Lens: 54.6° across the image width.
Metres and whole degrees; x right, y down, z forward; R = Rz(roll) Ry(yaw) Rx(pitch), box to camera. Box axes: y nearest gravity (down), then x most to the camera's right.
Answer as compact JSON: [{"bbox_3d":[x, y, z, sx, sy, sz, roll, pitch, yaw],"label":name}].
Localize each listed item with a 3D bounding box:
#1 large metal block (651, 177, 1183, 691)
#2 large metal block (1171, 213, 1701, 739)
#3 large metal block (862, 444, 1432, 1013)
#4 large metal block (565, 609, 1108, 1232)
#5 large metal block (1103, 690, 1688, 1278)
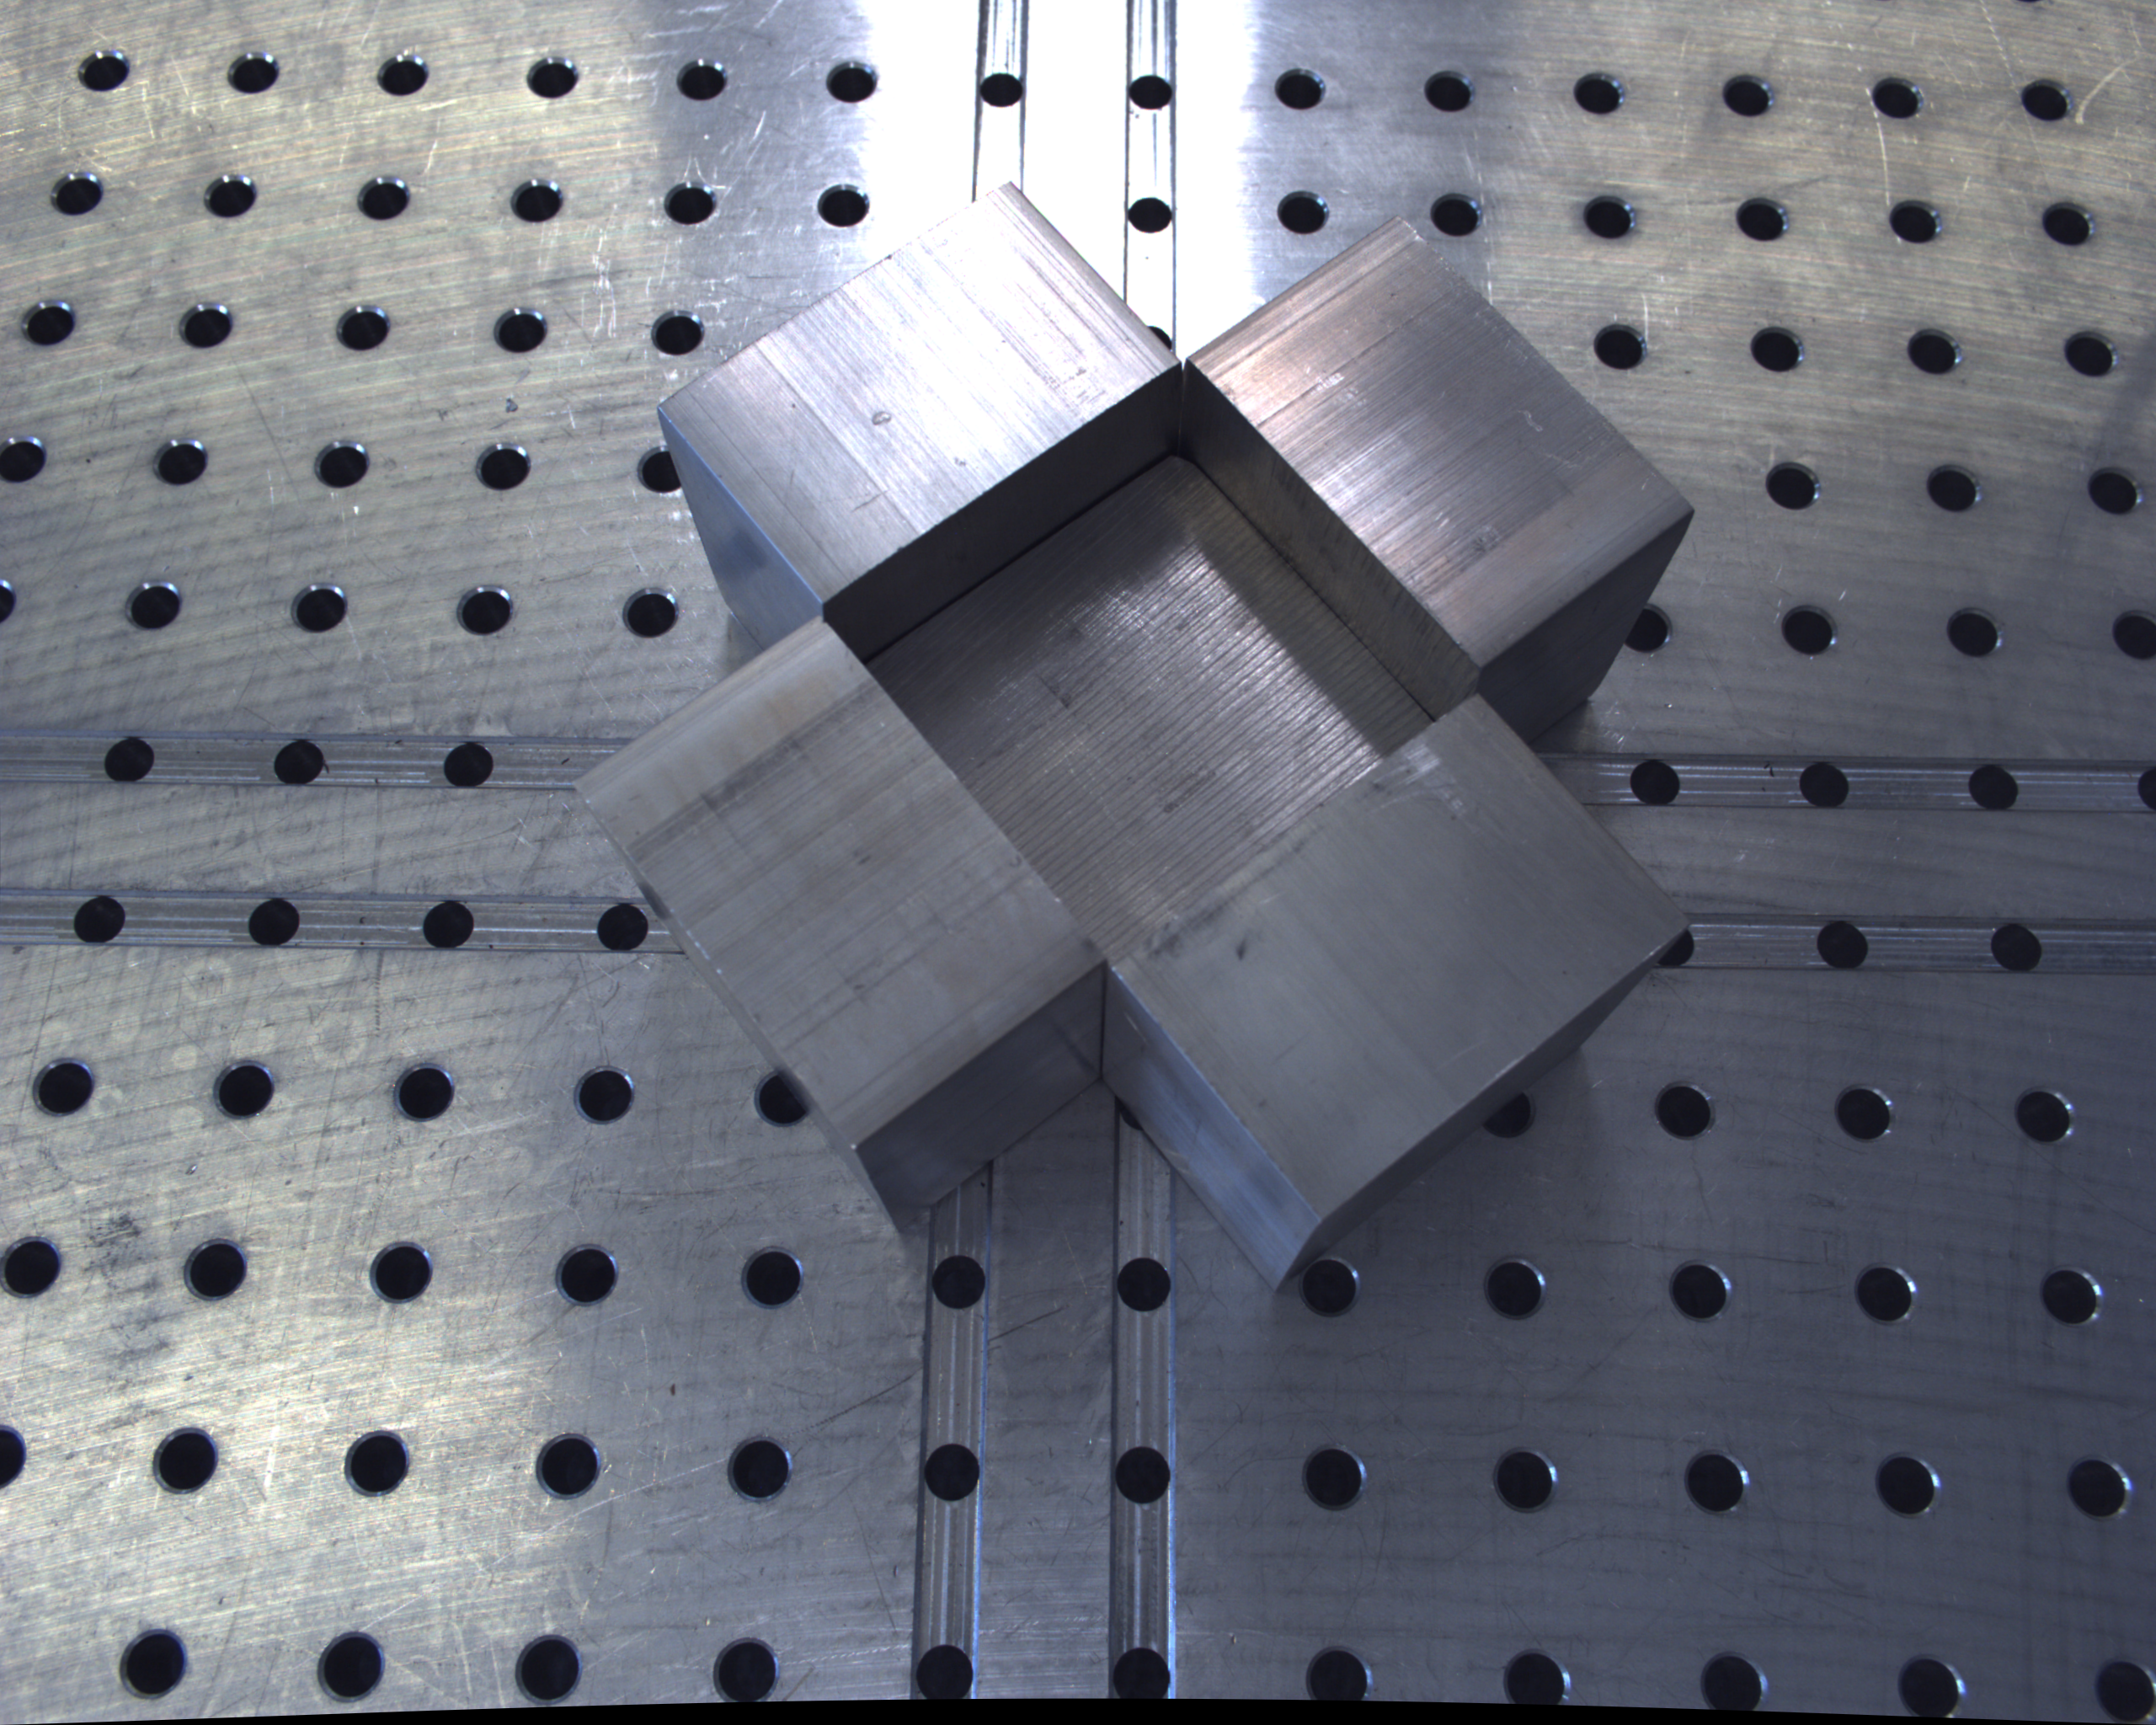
[{"bbox_3d":[-0.028,-0.072,0.409,0.080,0.080,0.050,-37,74,-12],"label":"large metal block"},{"bbox_3d":[0.064,-0.062,0.406,0.050,0.080,0.080,-37,75,-12],"label":"large metal block"},{"bbox_3d":[0.013,-0.019,0.404,0.080,0.050,0.080,-37,73,-10],"label":"large metal block"},{"bbox_3d":[-0.040,0.014,0.377,0.050,0.080,0.080,-37,75,-12],"label":"large metal block"},{"bbox_3d":[0.052,0.025,0.375,0.080,0.080,0.050,-35,74,-12],"label":"large metal block"}]
